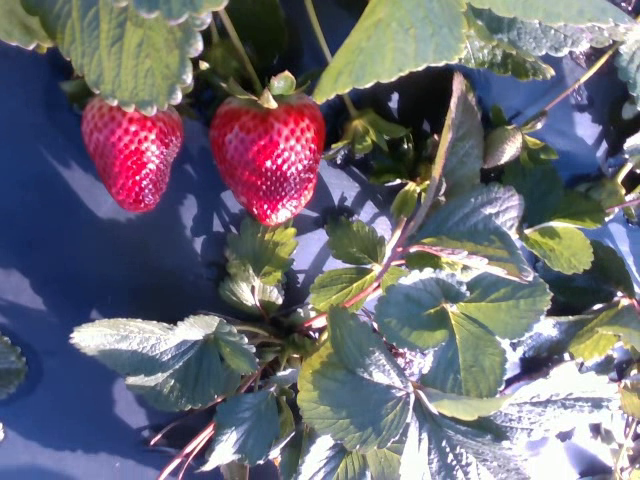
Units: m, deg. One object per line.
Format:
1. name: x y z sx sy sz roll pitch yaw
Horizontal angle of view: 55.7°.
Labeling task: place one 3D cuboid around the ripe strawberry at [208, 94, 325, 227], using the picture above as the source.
1. ripe strawberry: -0.019 -0.031 0.245 0.052 0.058 0.046 -2 12 11

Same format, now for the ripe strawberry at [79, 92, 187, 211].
1. ripe strawberry: -0.072 -0.032 0.229 0.043 0.052 0.036 -6 14 19
